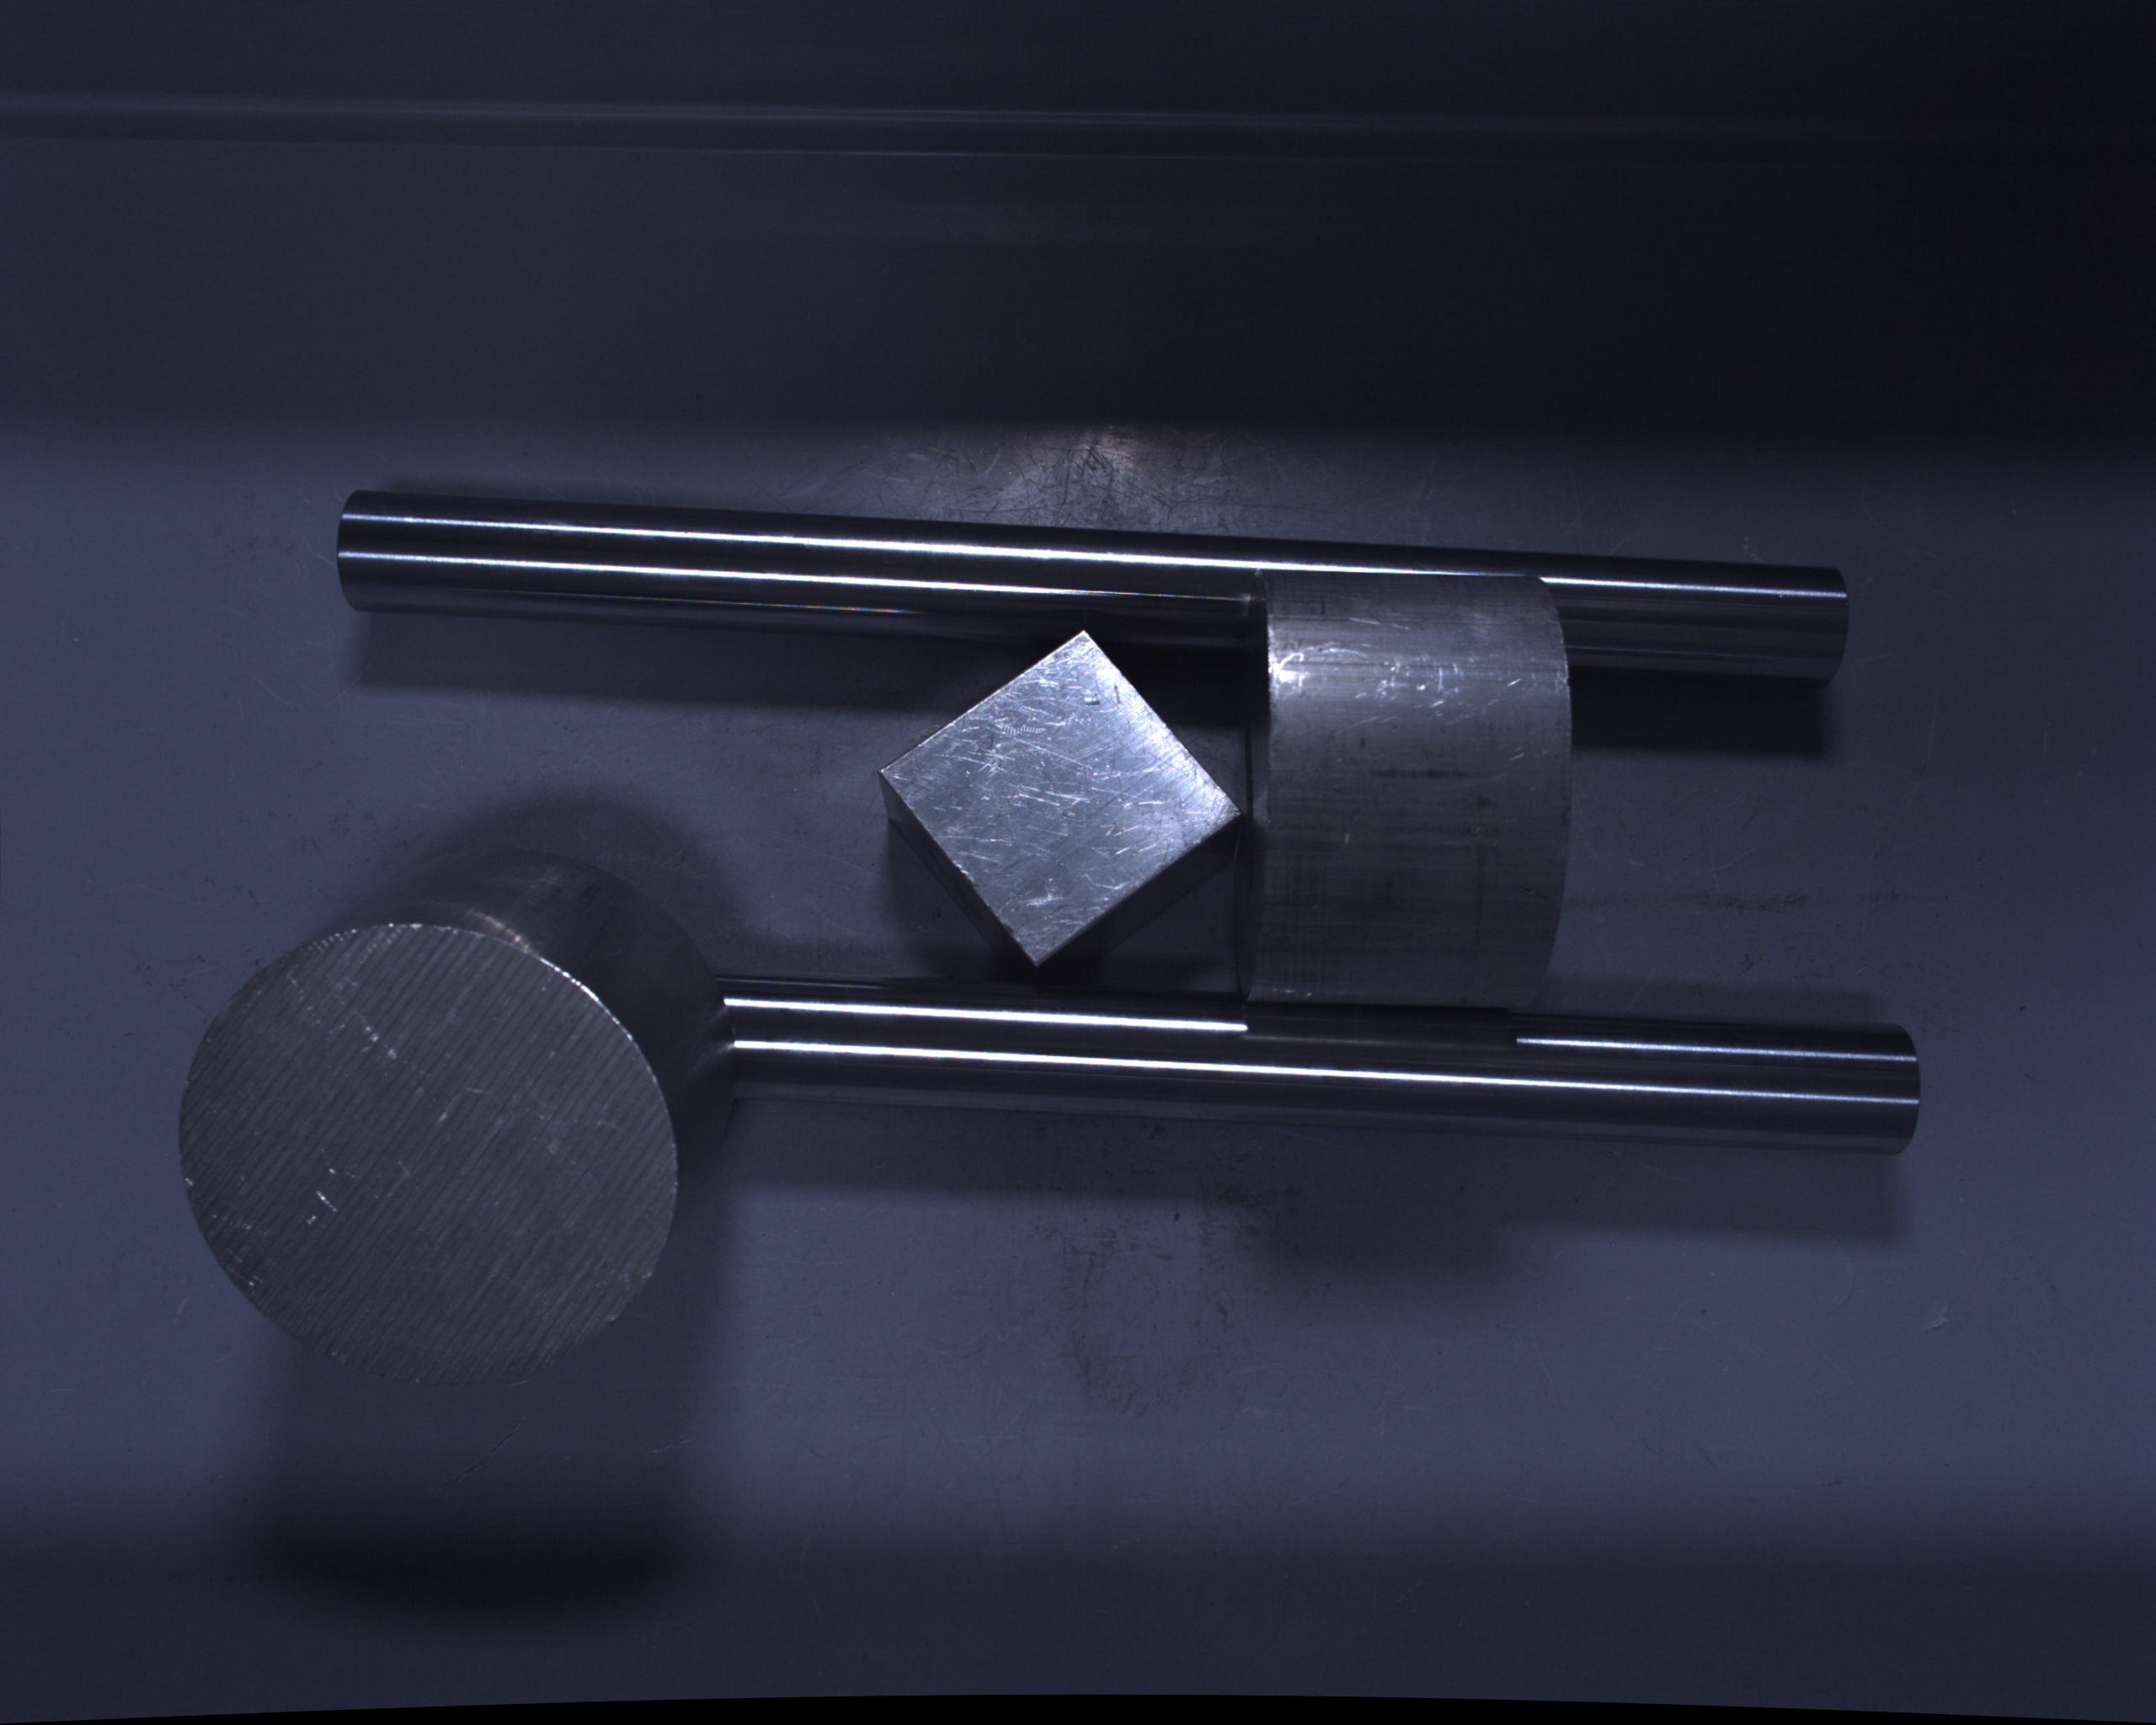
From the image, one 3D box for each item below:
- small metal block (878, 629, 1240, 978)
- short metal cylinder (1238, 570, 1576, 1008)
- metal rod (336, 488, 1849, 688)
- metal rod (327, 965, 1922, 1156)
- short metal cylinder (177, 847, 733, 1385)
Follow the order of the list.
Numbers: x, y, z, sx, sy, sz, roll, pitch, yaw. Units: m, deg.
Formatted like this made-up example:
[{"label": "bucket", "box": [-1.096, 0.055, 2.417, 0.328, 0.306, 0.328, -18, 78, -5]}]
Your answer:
[{"label": "small metal block", "box": [-0.003, -0.009, 0.411, 0.050, 0.025, 0.050, -36, 74, -13]}, {"label": "short metal cylinder", "box": [0.057, -0.014, 0.385, 0.050, 0.080, 0.080, 2, 70, 0]}, {"label": "metal rod", "box": [0.003, -0.056, 0.428, 0.302, 0.025, 0.025, 3, 70, 0]}, {"label": "metal rod", "box": [0.004, 0.035, 0.395, 0.302, 0.025, 0.025, 3, 70, 0]}, {"label": "short metal cylinder", "box": [-0.104, 0.042, 0.360, 0.081, 0.050, 0.079, 0, 104, 1]}]
